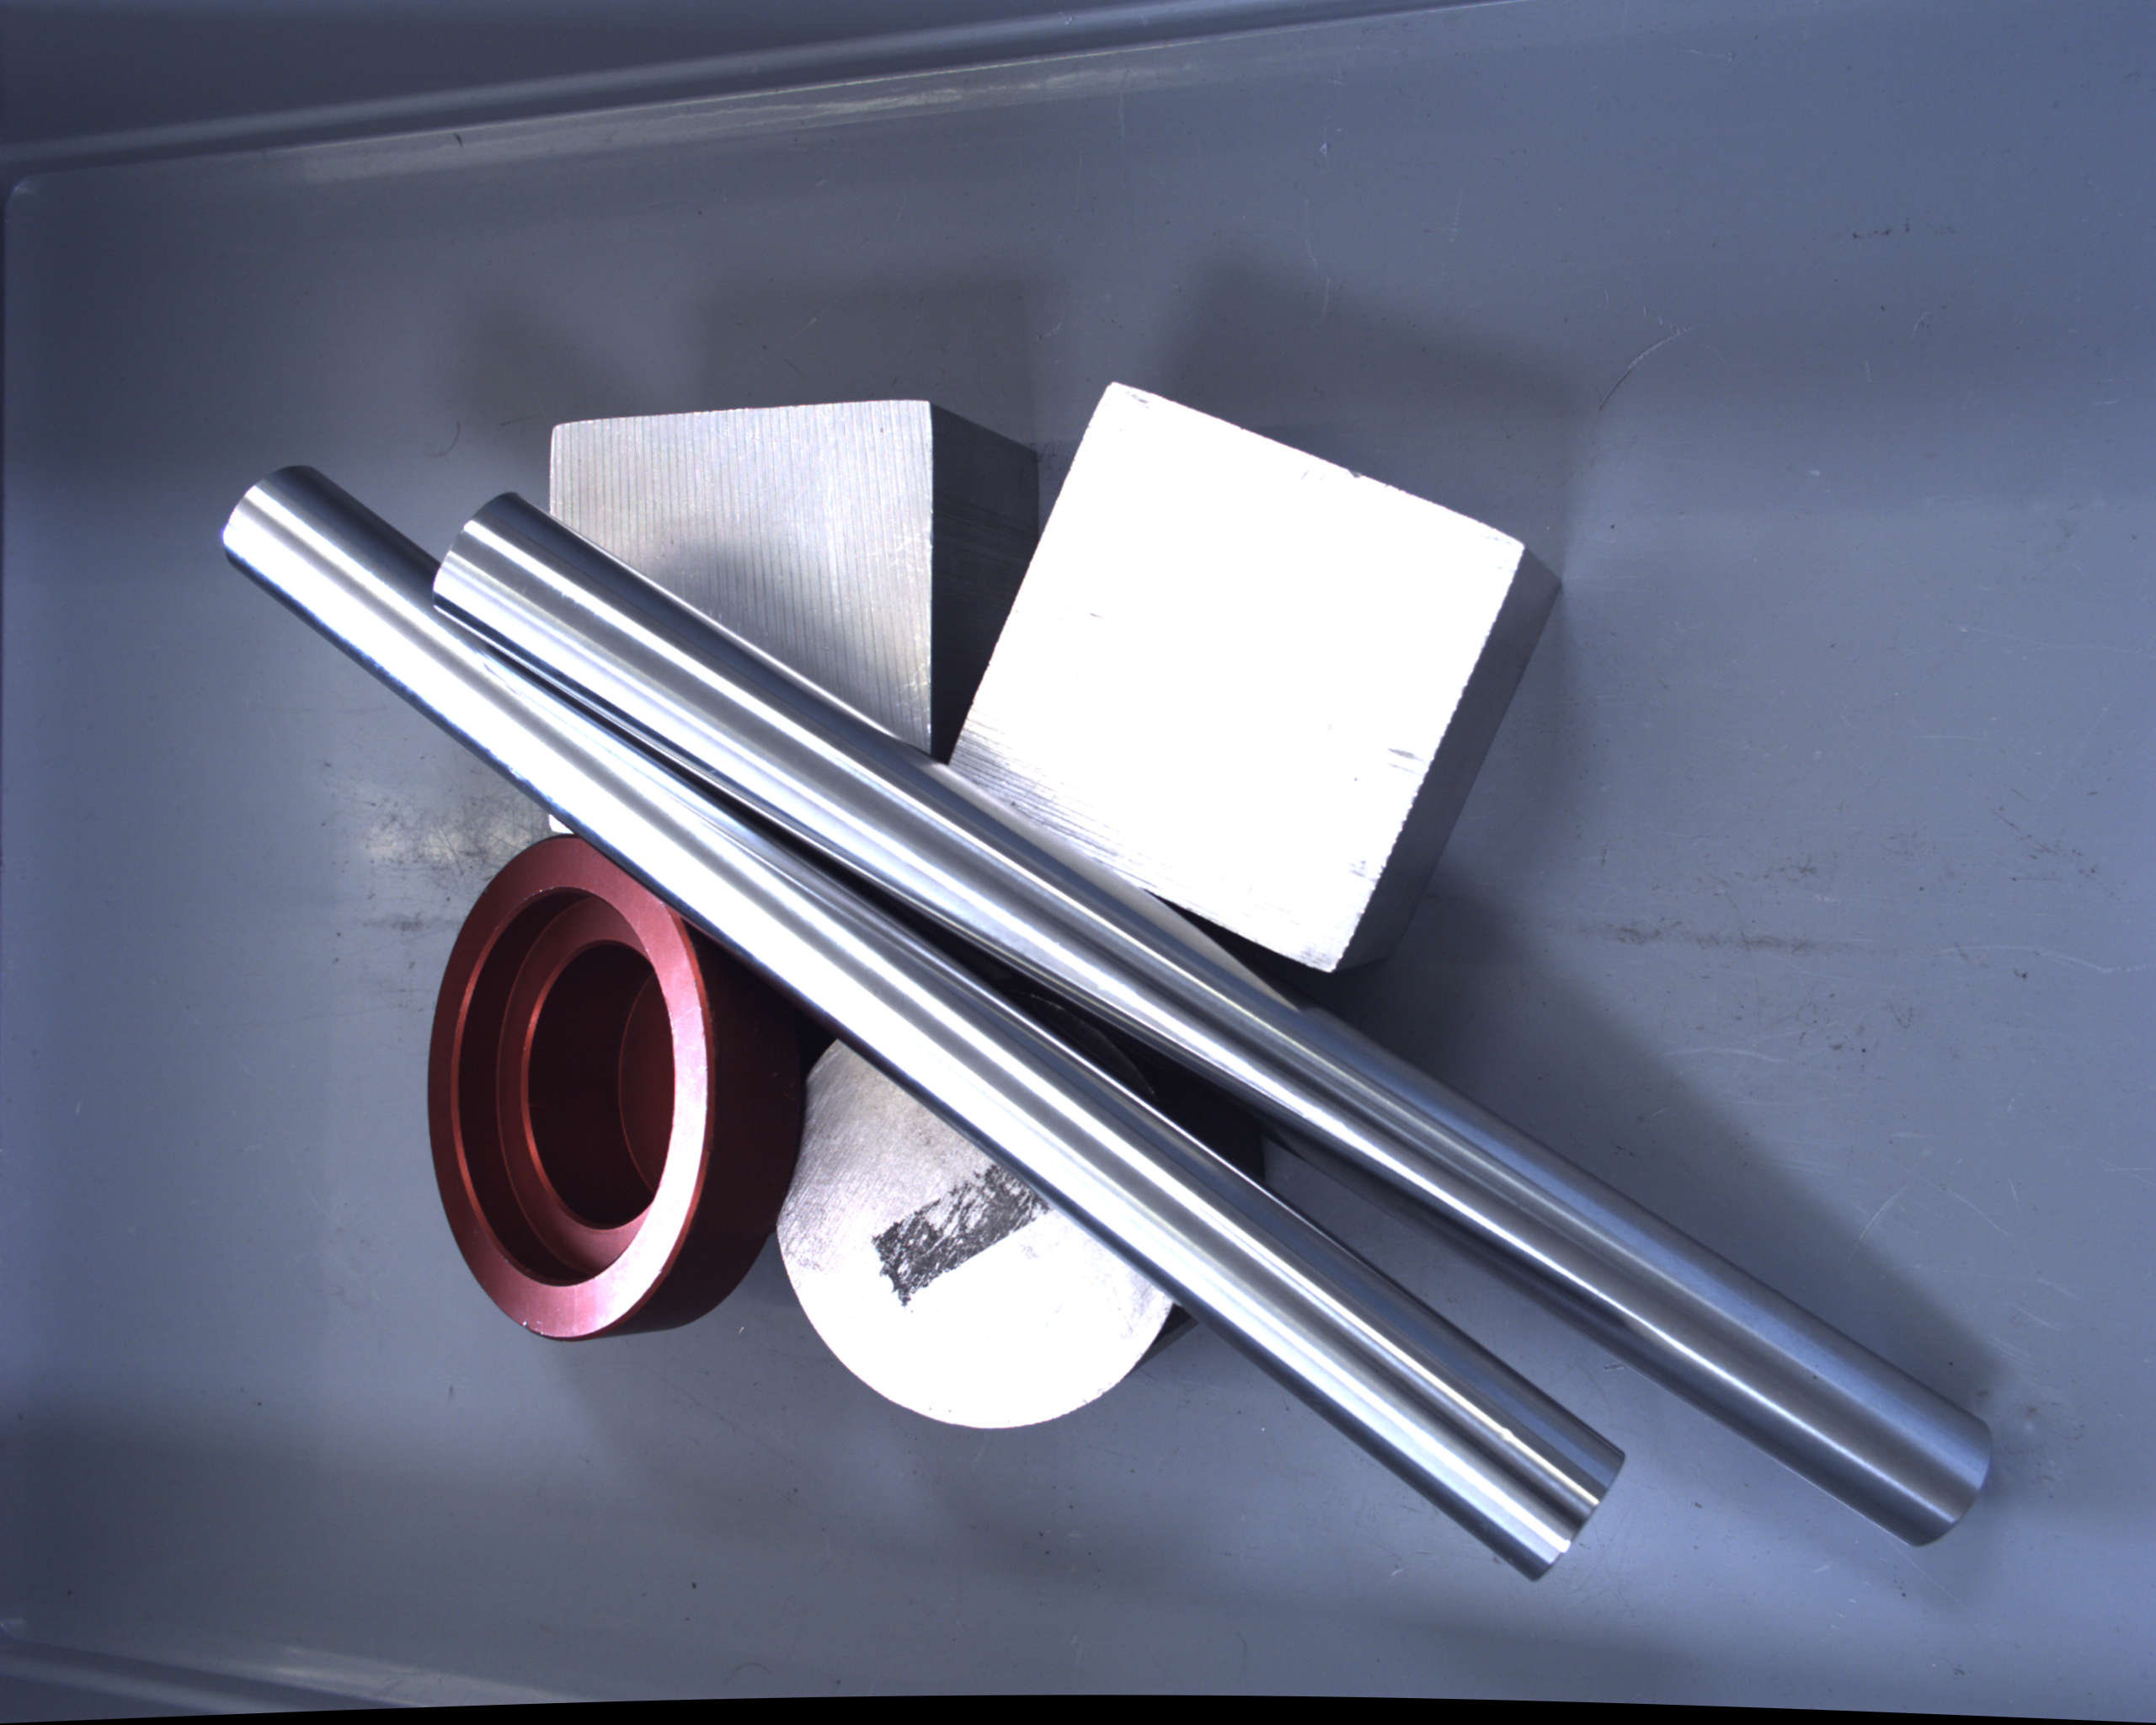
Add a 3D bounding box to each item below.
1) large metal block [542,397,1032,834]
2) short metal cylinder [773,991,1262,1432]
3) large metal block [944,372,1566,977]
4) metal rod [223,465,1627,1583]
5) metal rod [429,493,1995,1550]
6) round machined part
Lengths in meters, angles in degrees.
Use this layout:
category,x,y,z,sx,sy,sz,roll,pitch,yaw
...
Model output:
category,x,y,z,sx,sy,sz,roll,pitch,yaw
large metal block,-0.056,-0.045,0.412,0.080,0.050,0.079,1,90,20
short metal cylinder,-0.010,0.062,0.398,0.080,0.050,0.079,0,90,20
large metal block,0.032,-0.033,0.383,0.080,0.050,0.080,26,98,18
metal rod,-0.038,0.018,0.367,0.300,0.025,0.025,36,102,15
metal rod,0.021,0.026,0.361,0.301,0.025,0.025,32,101,2
round machined part,-0.086,0.044,0.418,0.098,0.042,0.097,-4,84,43
